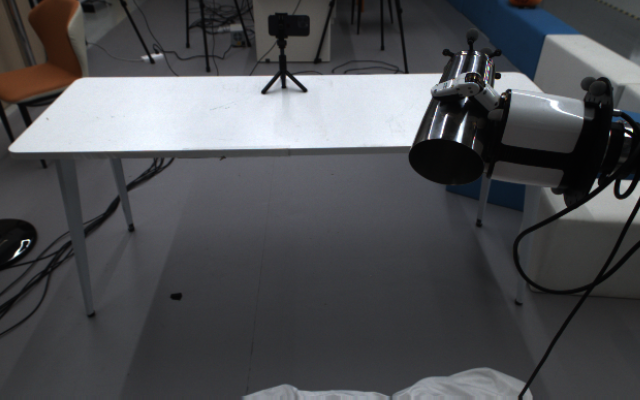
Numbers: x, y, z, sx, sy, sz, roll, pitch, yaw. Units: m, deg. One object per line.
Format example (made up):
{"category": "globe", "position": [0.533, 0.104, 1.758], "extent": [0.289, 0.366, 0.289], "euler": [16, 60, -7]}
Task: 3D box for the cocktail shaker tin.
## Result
{"category": "cocktail shaker tin", "position": [0.181, -0.114, 0.631], "extent": [0.093, 0.093, 0.170], "euler": [14, 61, 17]}
